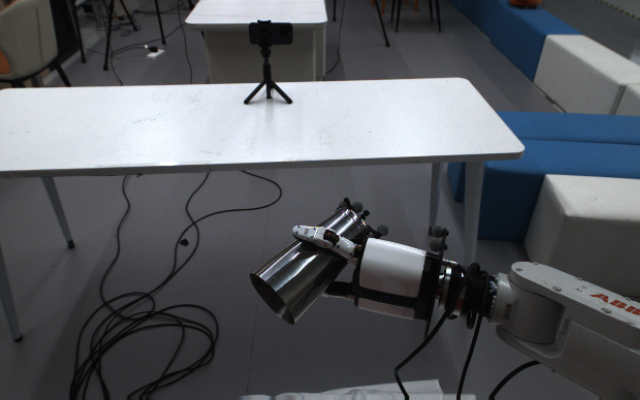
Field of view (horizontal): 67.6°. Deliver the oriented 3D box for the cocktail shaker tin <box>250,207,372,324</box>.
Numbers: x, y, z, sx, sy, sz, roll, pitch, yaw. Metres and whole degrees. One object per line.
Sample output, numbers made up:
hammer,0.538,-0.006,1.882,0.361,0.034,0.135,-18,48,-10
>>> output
cocktail shaker tin,-0.007,0.082,0.698,0.170,0.093,0.093,-38,49,-24
